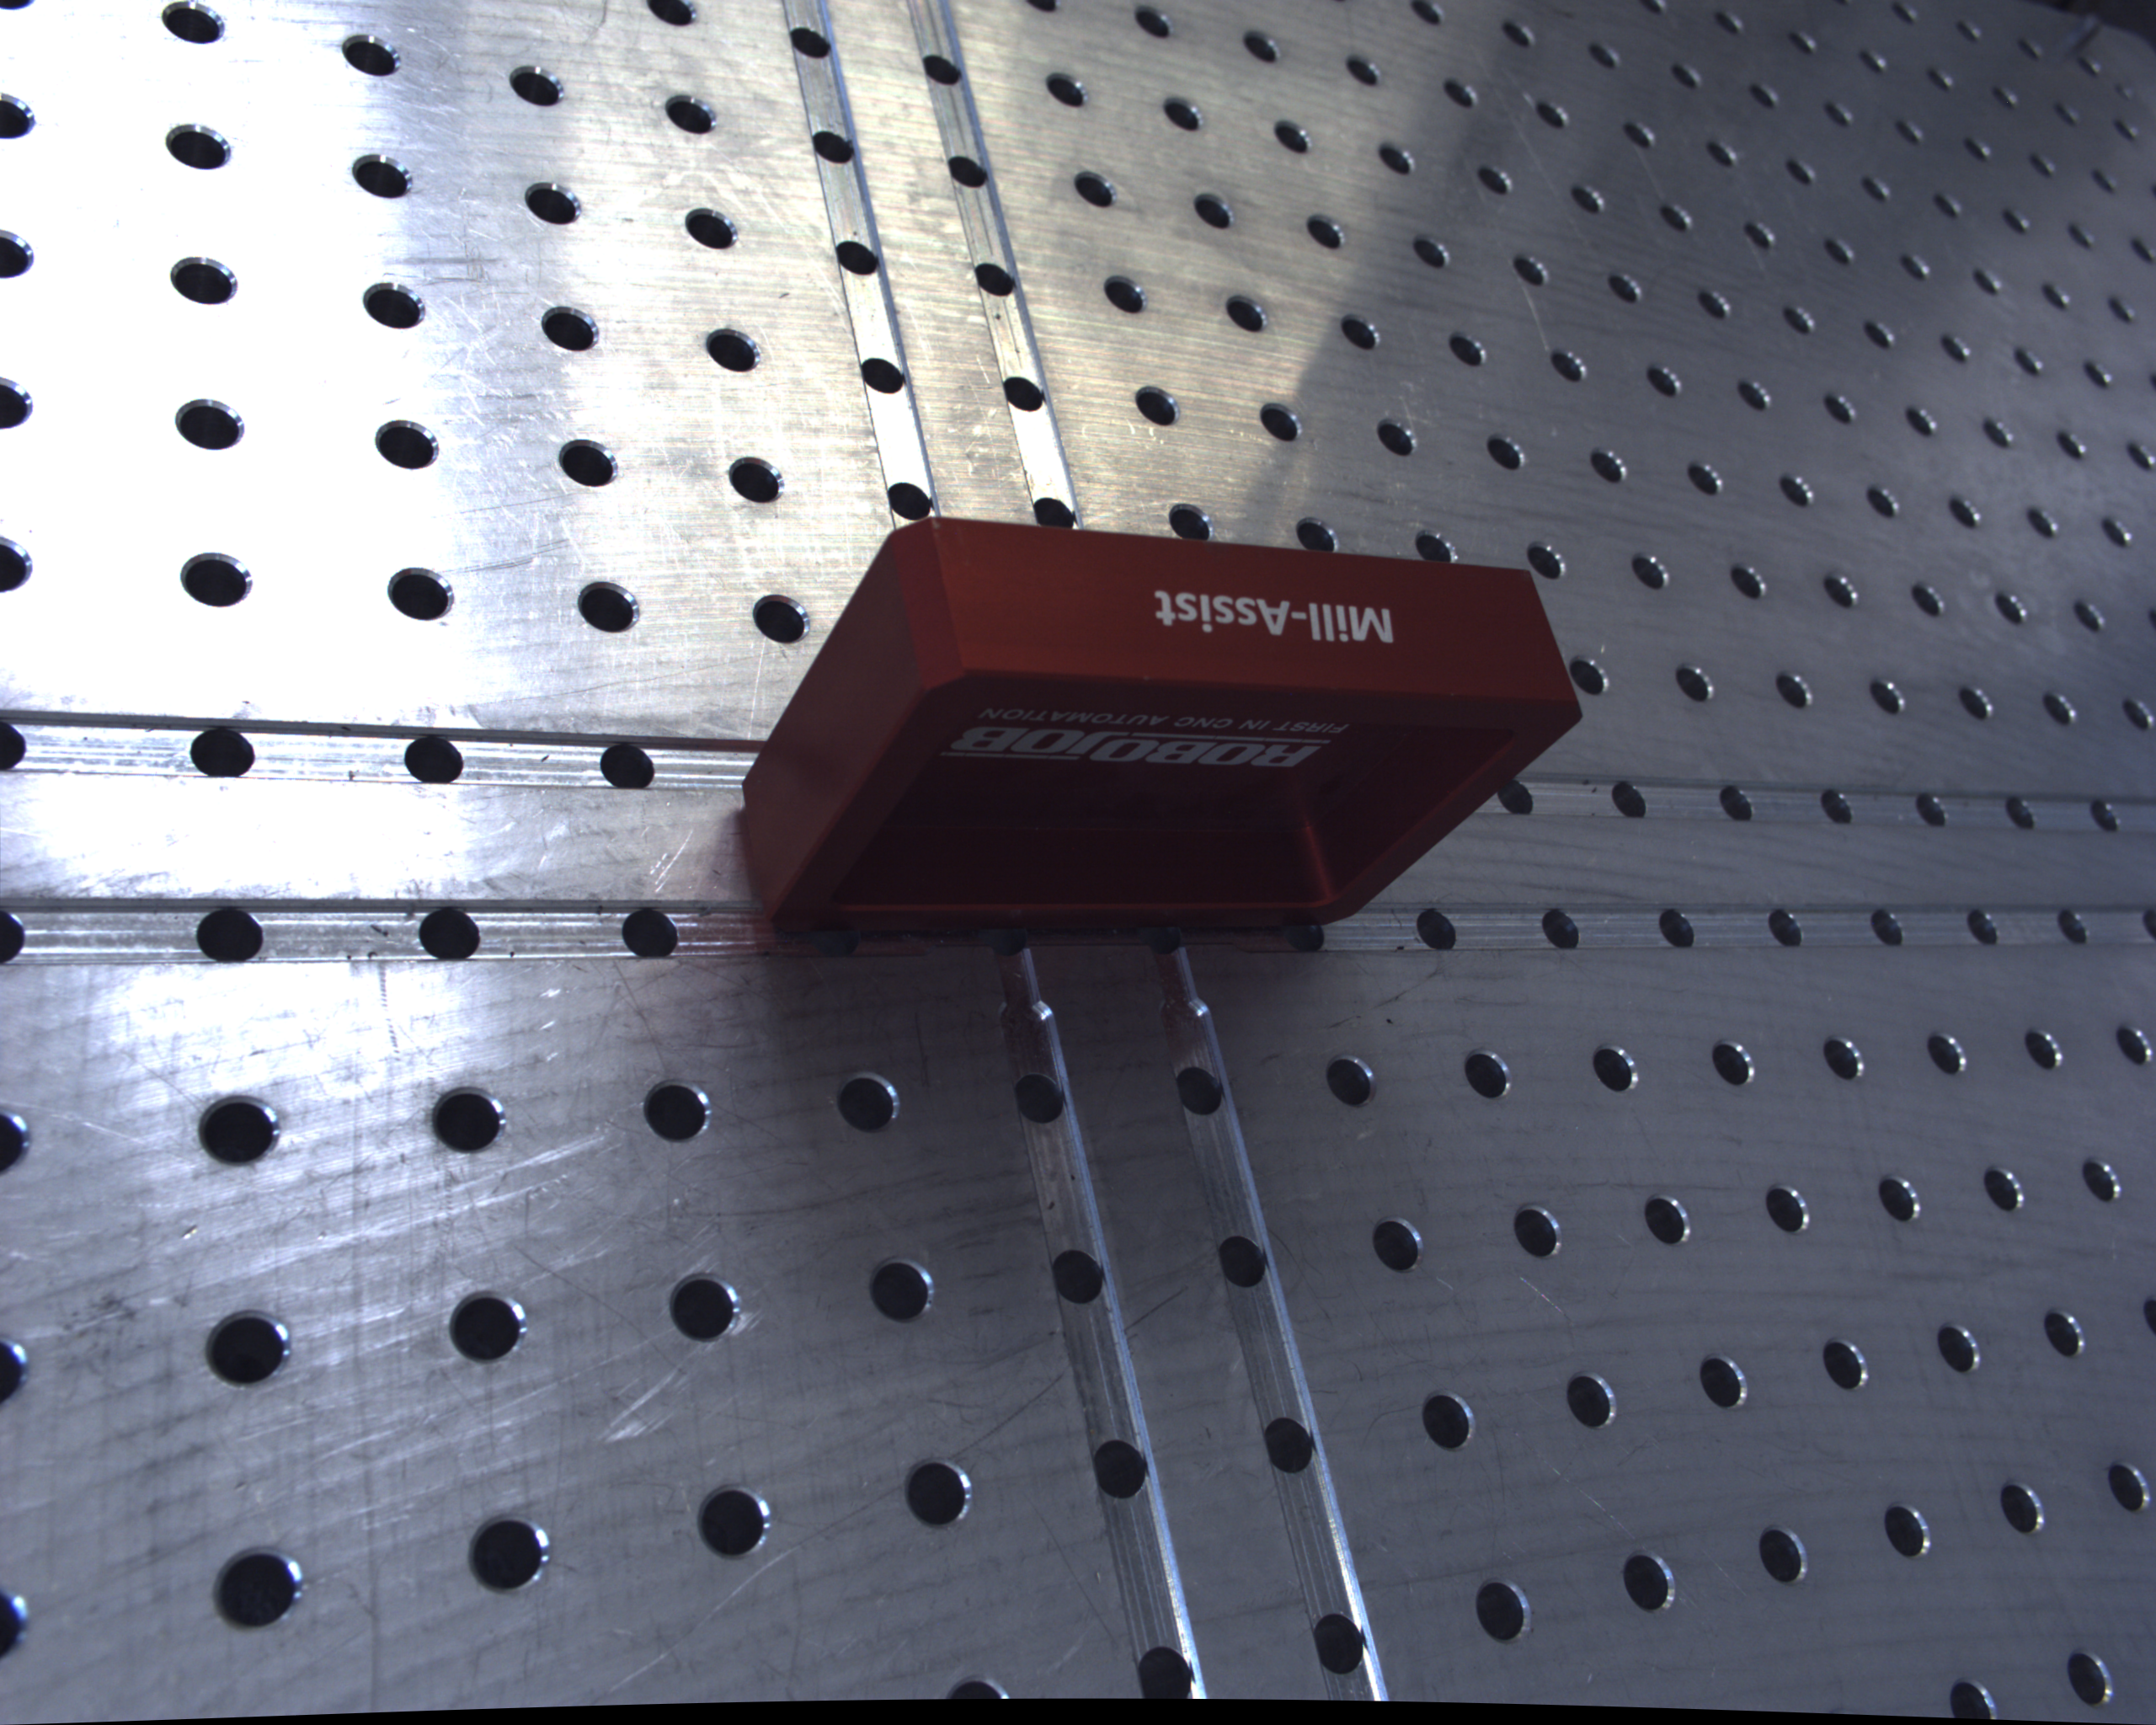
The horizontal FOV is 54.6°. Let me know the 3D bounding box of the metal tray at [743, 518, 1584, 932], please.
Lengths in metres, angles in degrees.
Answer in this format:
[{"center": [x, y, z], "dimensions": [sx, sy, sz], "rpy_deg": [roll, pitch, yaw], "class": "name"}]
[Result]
[{"center": [0.015, -0.021, 0.386], "dimensions": [0.131, 0.090, 0.030], "rpy_deg": [0, 62, -28], "class": "metal tray"}]
